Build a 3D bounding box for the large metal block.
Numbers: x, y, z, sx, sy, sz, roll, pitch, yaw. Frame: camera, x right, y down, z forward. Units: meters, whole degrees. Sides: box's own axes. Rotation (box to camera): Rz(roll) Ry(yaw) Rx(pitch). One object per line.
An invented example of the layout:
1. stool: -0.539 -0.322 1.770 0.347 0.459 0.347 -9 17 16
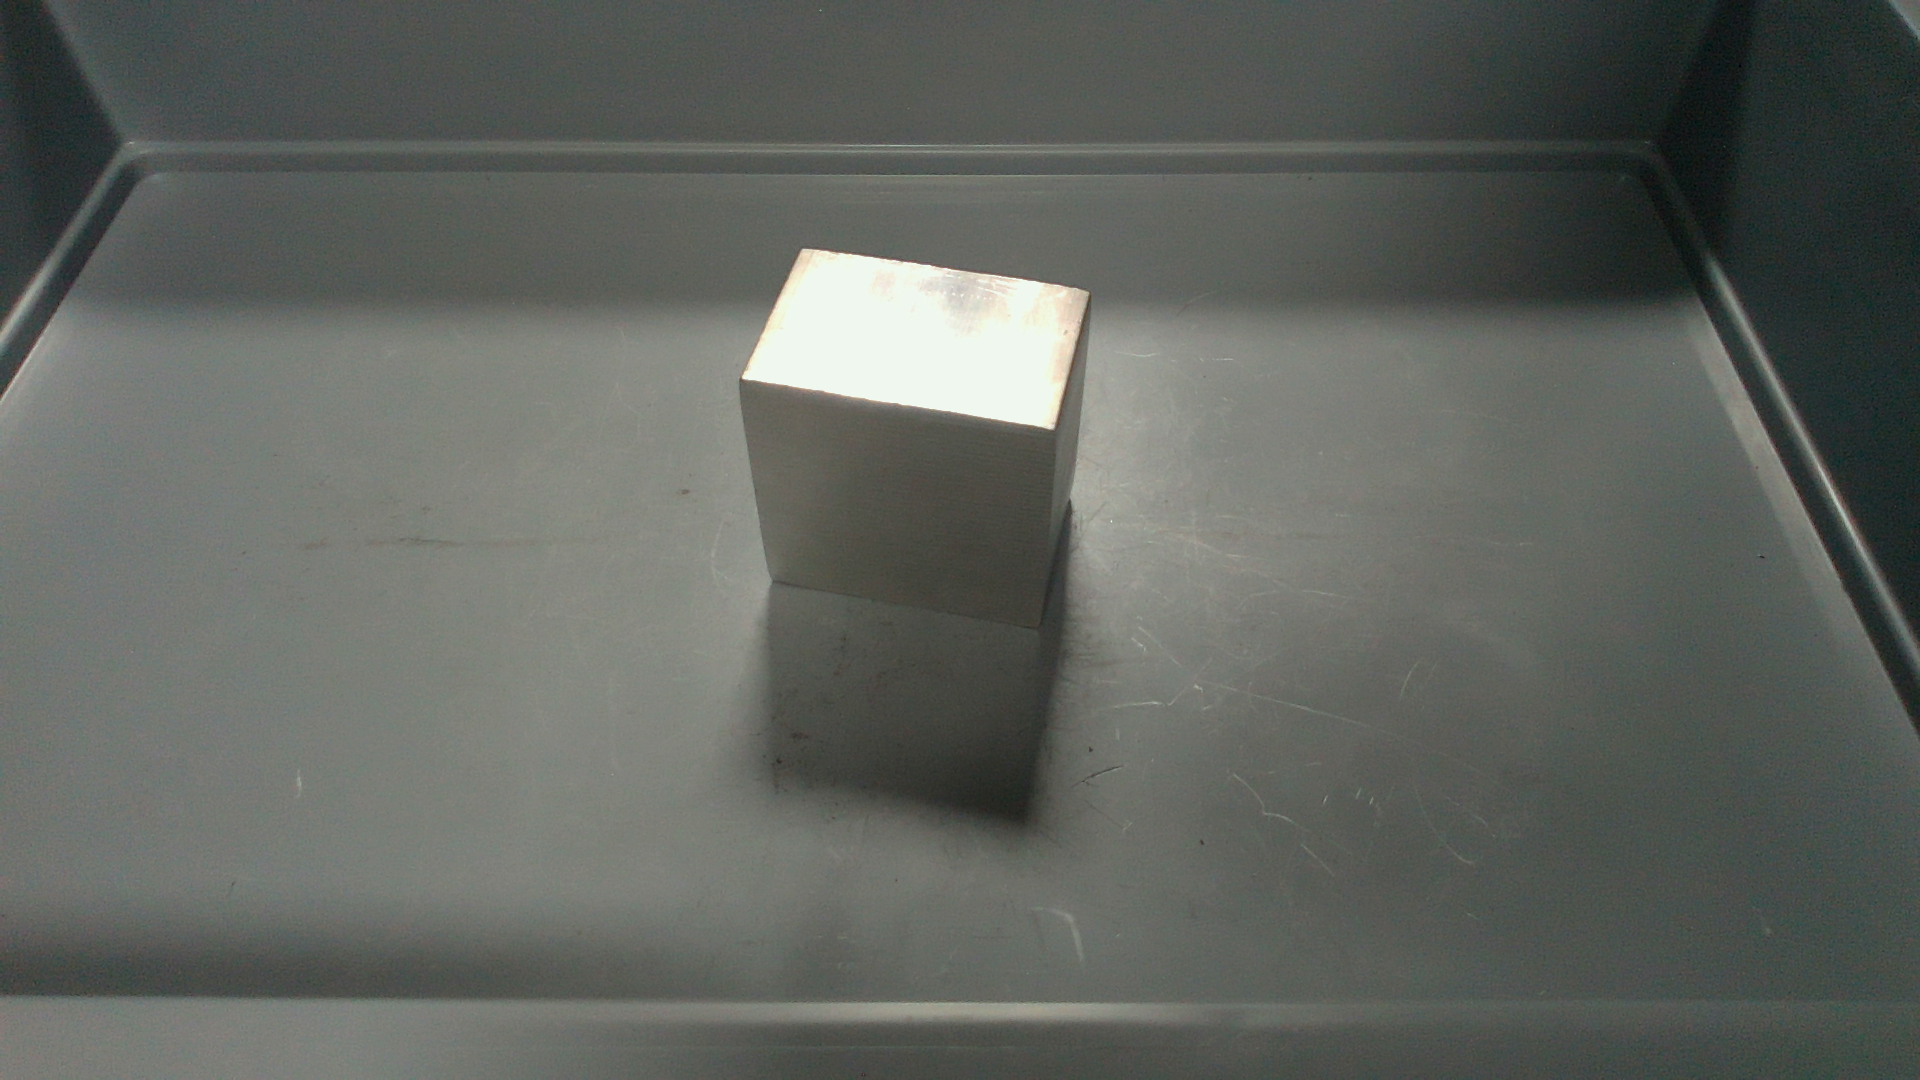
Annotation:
1. large metal block: -0.010 -0.027 0.376 0.080 0.080 0.050 9 51 8
